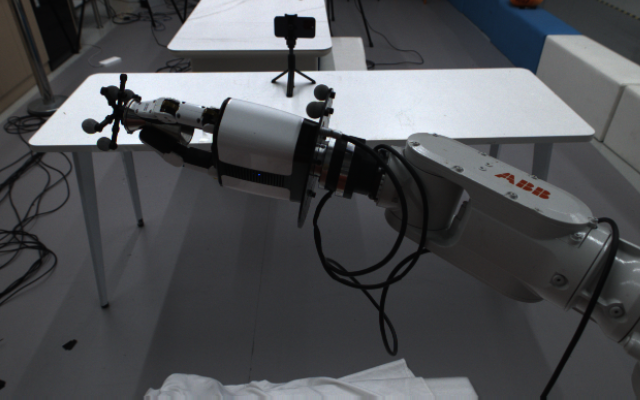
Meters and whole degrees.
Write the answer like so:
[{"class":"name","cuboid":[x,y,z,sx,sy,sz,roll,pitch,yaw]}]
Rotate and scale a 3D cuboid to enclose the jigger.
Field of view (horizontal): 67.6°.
[{"class":"jigger","cuboid":[-0.178,-0.093,0.557,0.071,0.043,0.043,13,36,4]}]
